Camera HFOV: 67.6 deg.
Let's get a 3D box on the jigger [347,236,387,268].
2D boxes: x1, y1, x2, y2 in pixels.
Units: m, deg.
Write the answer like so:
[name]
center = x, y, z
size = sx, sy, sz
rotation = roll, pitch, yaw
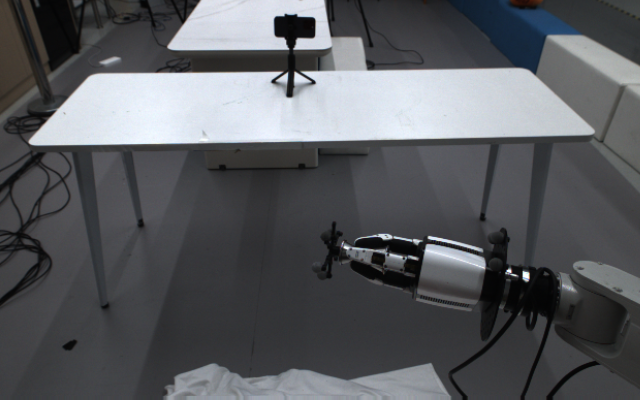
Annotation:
[jigger]
center = 0.072, 0.078, 0.718
size = 0.071, 0.043, 0.043
rotation = 7, 35, 16
